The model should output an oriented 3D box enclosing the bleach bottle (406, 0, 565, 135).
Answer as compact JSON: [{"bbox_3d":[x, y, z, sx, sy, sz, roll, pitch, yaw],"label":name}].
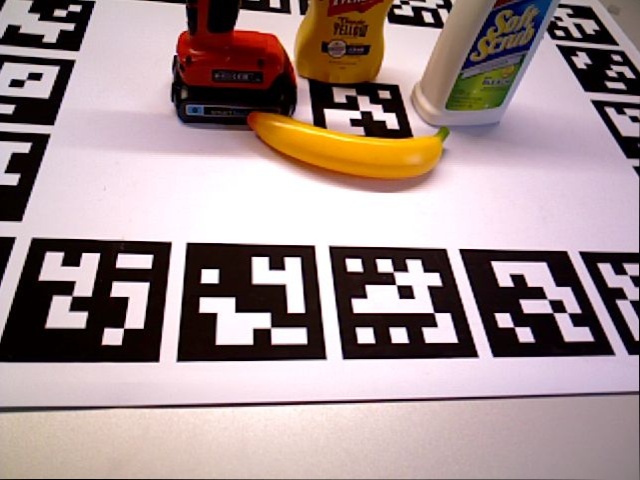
[{"bbox_3d":[0.164,-0.210,0.489,0.101,0.257,0.067,-5,55,-16],"label":"bleach bottle"}]

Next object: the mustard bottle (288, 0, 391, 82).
[{"bbox_3d":[0.029,-0.247,0.518,0.095,0.196,0.057,3,52,-11],"label":"mustard bottle"}]

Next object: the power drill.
[{"bbox_3d":[-0.062,-0.214,0.450,0.182,0.192,0.056,1,46,-14],"label":"power drill"}]

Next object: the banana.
[{"bbox_3d":[0.034,-0.088,0.494,0.196,0.040,0.073,3,57,-6],"label":"banana"}]
